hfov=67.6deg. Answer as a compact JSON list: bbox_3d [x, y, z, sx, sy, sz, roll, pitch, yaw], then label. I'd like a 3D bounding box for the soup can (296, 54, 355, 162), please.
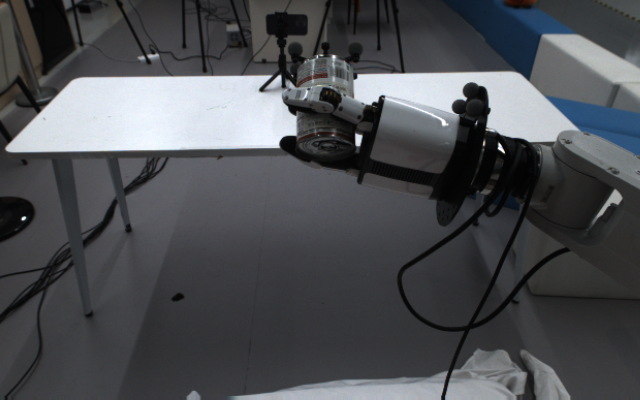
[{"bbox_3d":[0.008,-0.103,0.549,0.067,0.067,0.101,1,73,-2],"label":"soup can"}]
